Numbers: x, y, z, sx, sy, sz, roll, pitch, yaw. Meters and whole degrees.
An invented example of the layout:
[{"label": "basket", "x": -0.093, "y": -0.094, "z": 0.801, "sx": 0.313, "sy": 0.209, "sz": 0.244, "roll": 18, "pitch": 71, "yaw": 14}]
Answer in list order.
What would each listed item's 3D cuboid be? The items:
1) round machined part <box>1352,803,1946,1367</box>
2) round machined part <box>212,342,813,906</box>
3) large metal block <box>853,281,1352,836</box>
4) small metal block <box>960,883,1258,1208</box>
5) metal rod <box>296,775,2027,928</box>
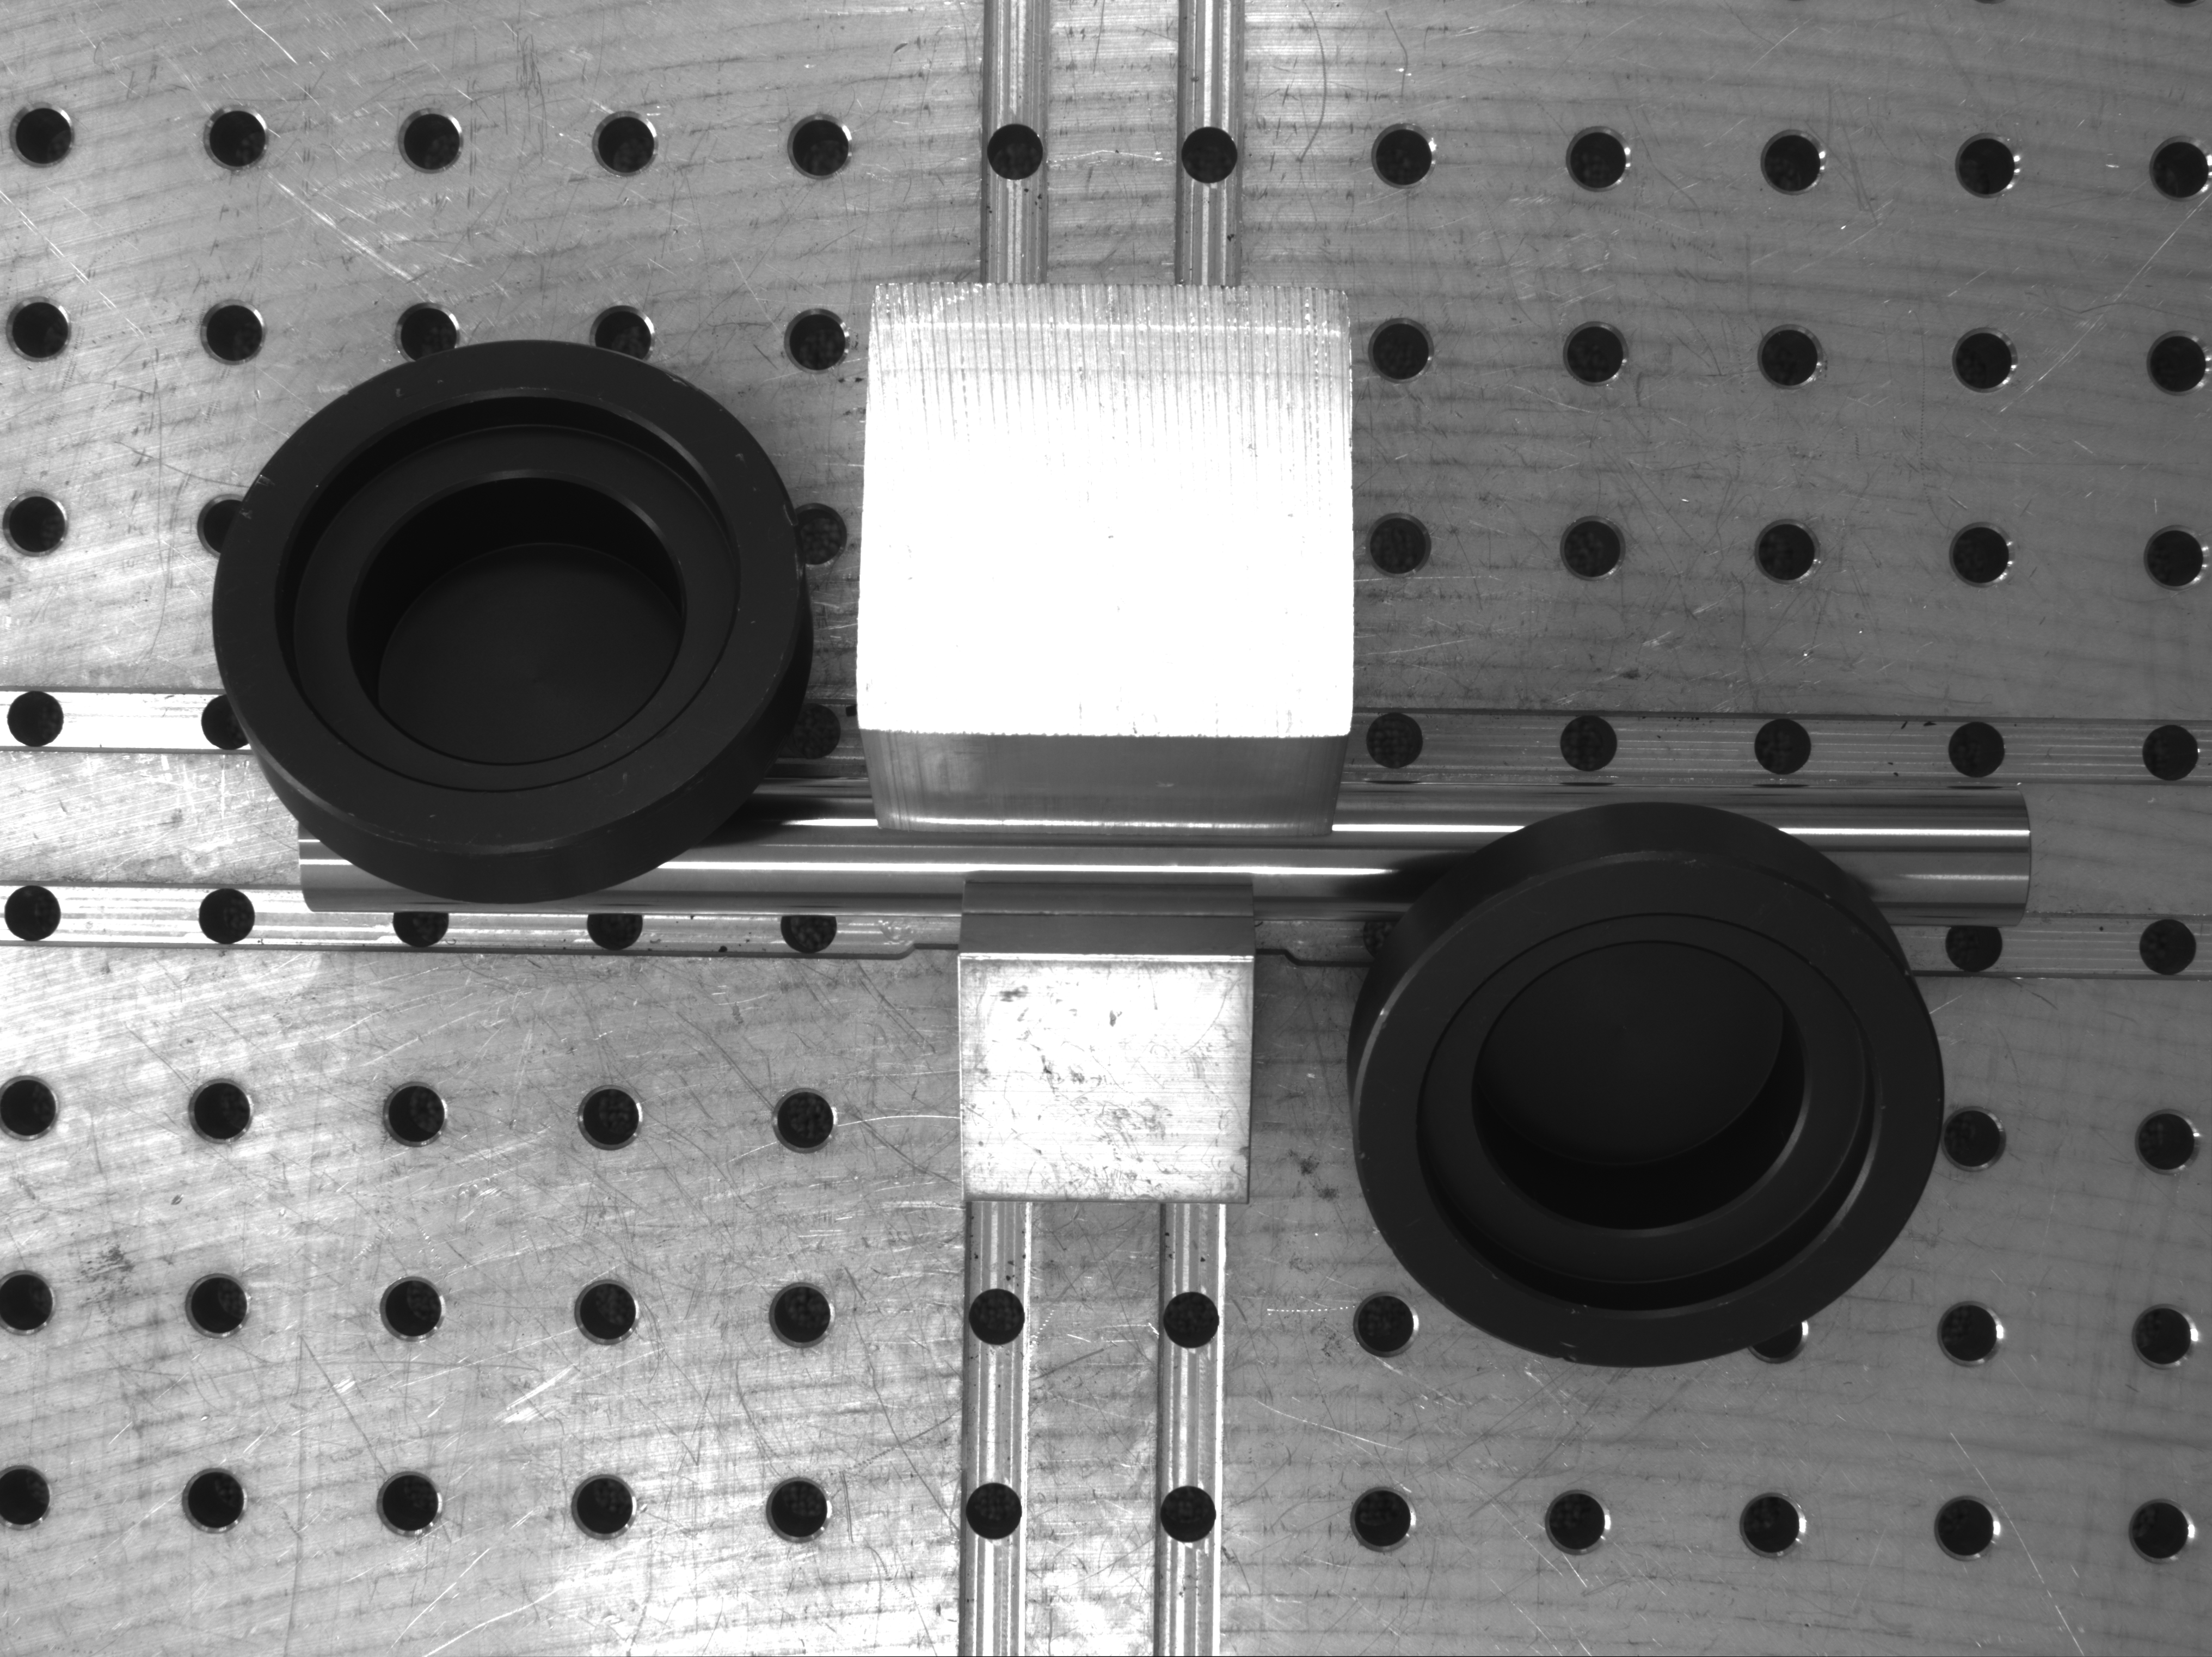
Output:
[{"label": "round machined part", "x": 0.090, "y": 0.040, "z": 0.628, "sx": 0.098, "sy": 0.042, "sz": 0.098, "roll": 0, "pitch": 115, "yaw": 0}, {"label": "round machined part", "x": -0.099, "y": -0.031, "z": 0.627, "sx": 0.098, "sy": 0.042, "sz": 0.098, "roll": 0, "pitch": 64, "yaw": 0}, {"label": "large metal block", "x": 0.000, "y": -0.045, "z": 0.625, "sx": 0.080, "sy": 0.050, "sz": 0.080, "roll": 1, "pitch": 72, "yaw": 0}, {"label": "small metal block", "x": 0.000, "y": 0.038, "z": 0.639, "sx": 0.050, "sy": 0.025, "sz": 0.050, "roll": 1, "pitch": 119, "yaw": 0}, {"label": "metal rod", "x": 0.010, "y": 0.004, "z": 0.649, "sx": 0.300, "sy": 0.025, "sz": 0.025, "roll": 1, "pitch": 90, "yaw": 0}]
